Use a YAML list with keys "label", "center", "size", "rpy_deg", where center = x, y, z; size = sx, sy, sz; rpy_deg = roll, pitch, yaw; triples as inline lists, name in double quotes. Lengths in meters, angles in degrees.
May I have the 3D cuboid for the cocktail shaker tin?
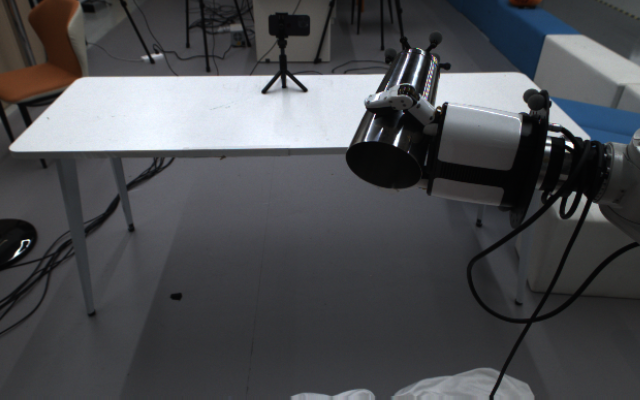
- label: "cocktail shaker tin"
  center: [0.101, -0.110, 0.607]
  size: [0.093, 0.093, 0.170]
  rpy_deg: [13, 60, 16]
